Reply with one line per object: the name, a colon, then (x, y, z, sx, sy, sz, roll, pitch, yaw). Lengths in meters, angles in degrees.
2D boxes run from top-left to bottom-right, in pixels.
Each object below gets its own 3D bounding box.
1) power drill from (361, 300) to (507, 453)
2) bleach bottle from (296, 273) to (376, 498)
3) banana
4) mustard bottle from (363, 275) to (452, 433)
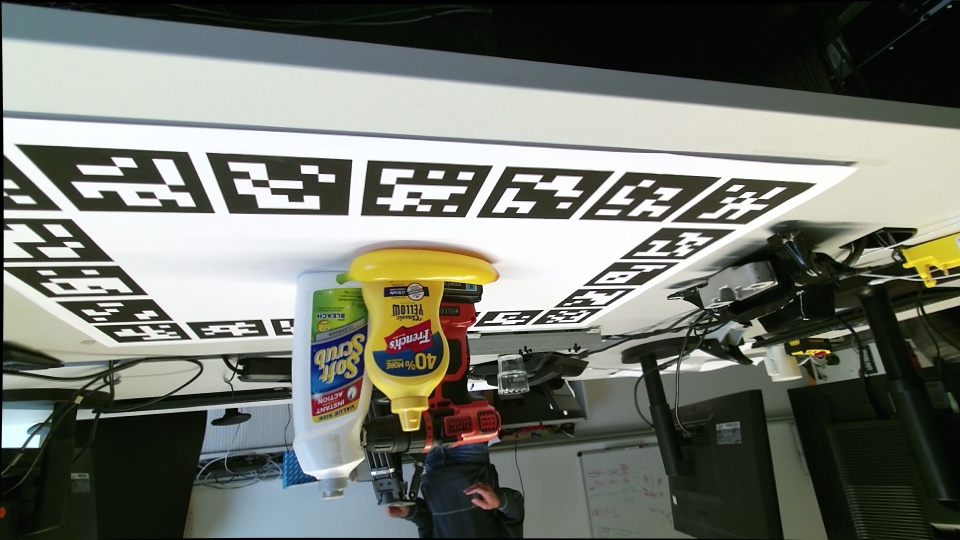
power drill: (-0.058, 0.132, 0.673, 0.185, 0.186, 0.057, 6, 156, -27)
bleach bottle: (-0.161, 0.131, 0.629, 0.103, 0.249, 0.068, 0, 163, -19)
banana: (-0.064, -0.005, 0.617, 0.198, 0.038, 0.074, -1, 156, -22)
mustard bottle: (-0.081, 0.085, 0.606, 0.096, 0.190, 0.058, 0, 157, -16)
